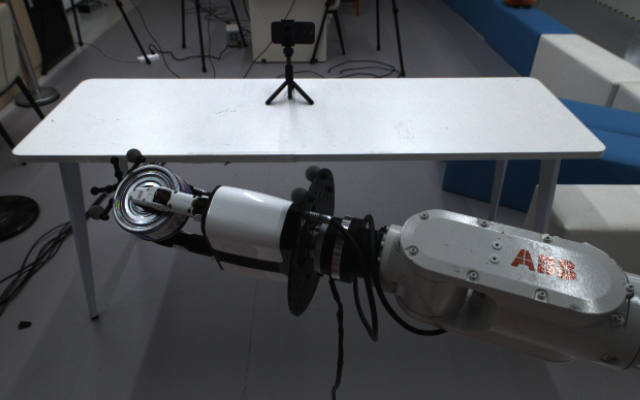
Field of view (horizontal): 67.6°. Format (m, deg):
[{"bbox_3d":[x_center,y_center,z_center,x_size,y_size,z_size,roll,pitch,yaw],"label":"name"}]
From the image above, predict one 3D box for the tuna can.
[{"bbox_3d":[-0.190,0.008,0.560,0.085,0.034,0.085,-3,70,9],"label":"tuna can"}]
